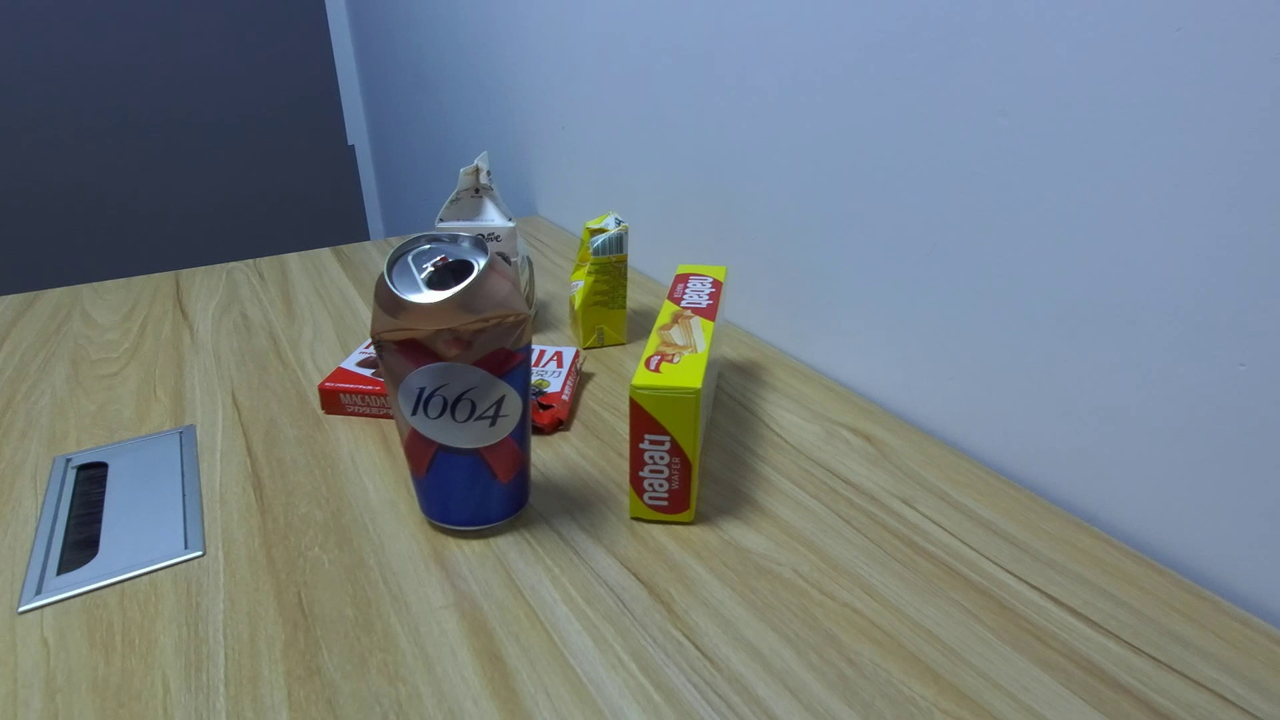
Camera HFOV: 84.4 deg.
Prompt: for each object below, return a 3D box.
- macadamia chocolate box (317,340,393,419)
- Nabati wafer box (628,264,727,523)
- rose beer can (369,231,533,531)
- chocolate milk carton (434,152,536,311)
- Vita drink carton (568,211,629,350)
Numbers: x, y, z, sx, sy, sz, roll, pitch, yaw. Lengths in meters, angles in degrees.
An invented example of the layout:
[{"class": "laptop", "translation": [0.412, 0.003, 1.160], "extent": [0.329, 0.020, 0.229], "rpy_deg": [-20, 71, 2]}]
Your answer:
[{"class": "macadamia chocolate box", "translation": [-0.138, 0.017, 0.547], "extent": [0.186, 0.027, 0.102], "rpy_deg": [4, 30, 8]}, {"class": "Nabati wafer box", "translation": [0.030, 0.011, 0.480], "extent": [0.042, 0.093, 0.203], "rpy_deg": [5, 27, 9]}, {"class": "rose beer can", "translation": [-0.100, 0.017, 0.394], "extent": [0.069, 0.168, 0.069], "rpy_deg": [-21, 36, -31]}, {"class": "chocolate milk carton", "translation": [-0.138, -0.107, 0.649], "extent": [0.073, 0.155, 0.084], "rpy_deg": [1, 26, 3]}, {"class": "Vita drink carton", "translation": [-0.039, -0.072, 0.625], "extent": [0.046, 0.110, 0.071], "rpy_deg": [-4, 25, -14]}]
